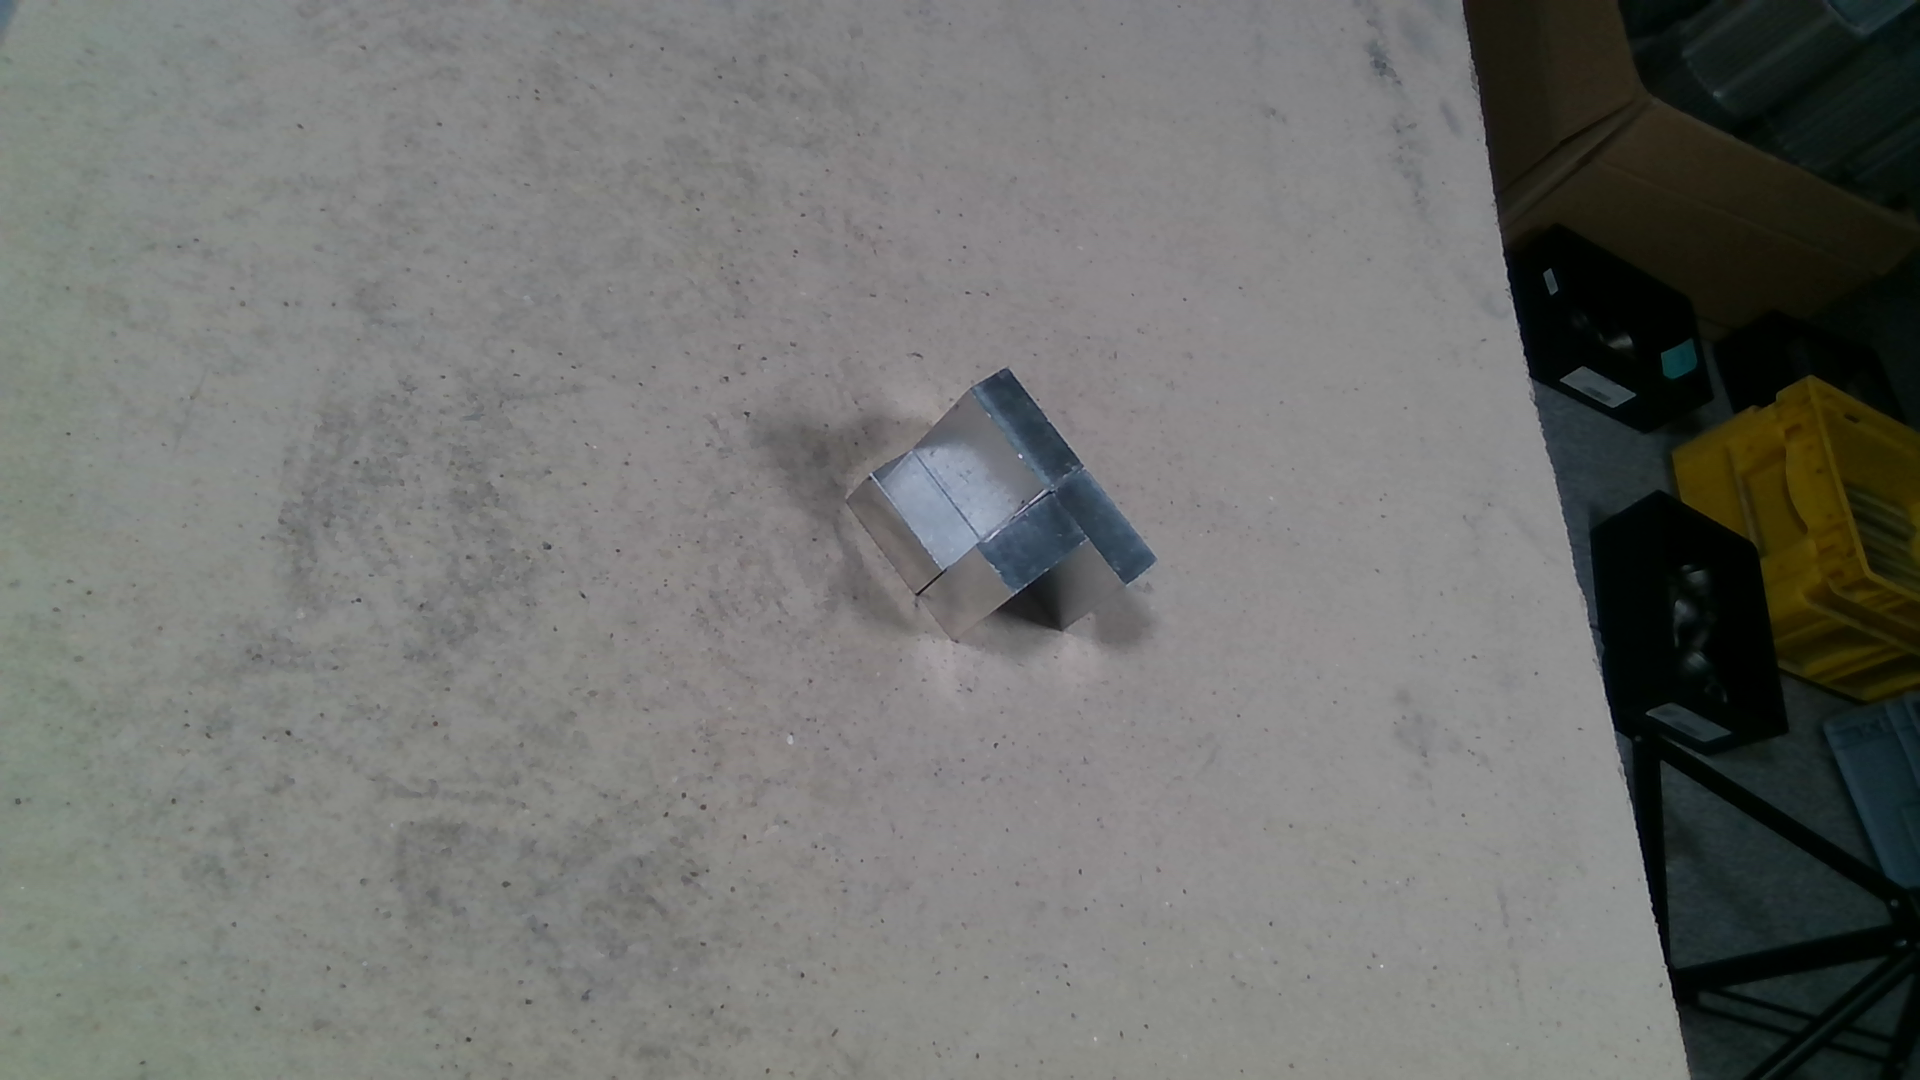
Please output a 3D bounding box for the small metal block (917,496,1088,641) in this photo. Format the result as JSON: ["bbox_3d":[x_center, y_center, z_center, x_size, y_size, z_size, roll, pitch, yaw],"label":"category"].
[{"bbox_3d":[0.017,0.011,0.575,0.050,0.050,0.025,-34,85,-39],"label":"small metal block"}]

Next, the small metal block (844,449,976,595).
[{"bbox_3d":[-0.012,-0.013,0.586,0.050,0.025,0.050,-34,85,-39],"label":"small metal block"}]

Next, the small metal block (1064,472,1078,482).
[{"bbox_3d":[0.019,-0.035,0.600,0.025,0.050,0.050,-35,86,-39],"label":"small metal block"}]

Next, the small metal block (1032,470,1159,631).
[{"bbox_3d":[0.049,0.005,0.598,0.025,0.050,0.050,-35,86,-39],"label":"small metal block"}]

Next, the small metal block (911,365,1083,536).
[{"bbox_3d":[0.014,-0.035,0.565,0.025,0.050,0.050,-35,86,-39],"label":"small metal block"}]
